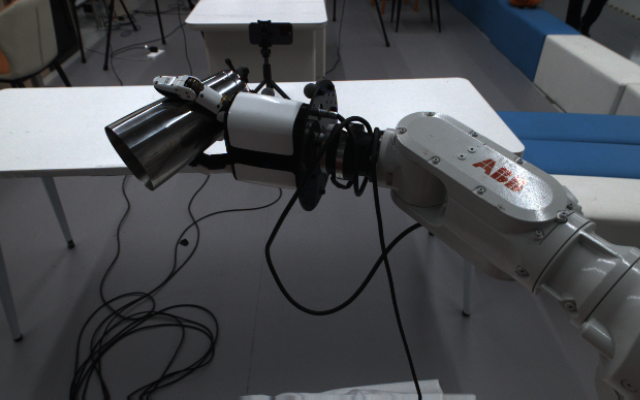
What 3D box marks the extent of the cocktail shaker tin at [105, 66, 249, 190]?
[{"bbox_3d":[-0.169,-0.102,0.614,0.170,0.093,0.093,-38,49,-23],"label":"cocktail shaker tin"}]
